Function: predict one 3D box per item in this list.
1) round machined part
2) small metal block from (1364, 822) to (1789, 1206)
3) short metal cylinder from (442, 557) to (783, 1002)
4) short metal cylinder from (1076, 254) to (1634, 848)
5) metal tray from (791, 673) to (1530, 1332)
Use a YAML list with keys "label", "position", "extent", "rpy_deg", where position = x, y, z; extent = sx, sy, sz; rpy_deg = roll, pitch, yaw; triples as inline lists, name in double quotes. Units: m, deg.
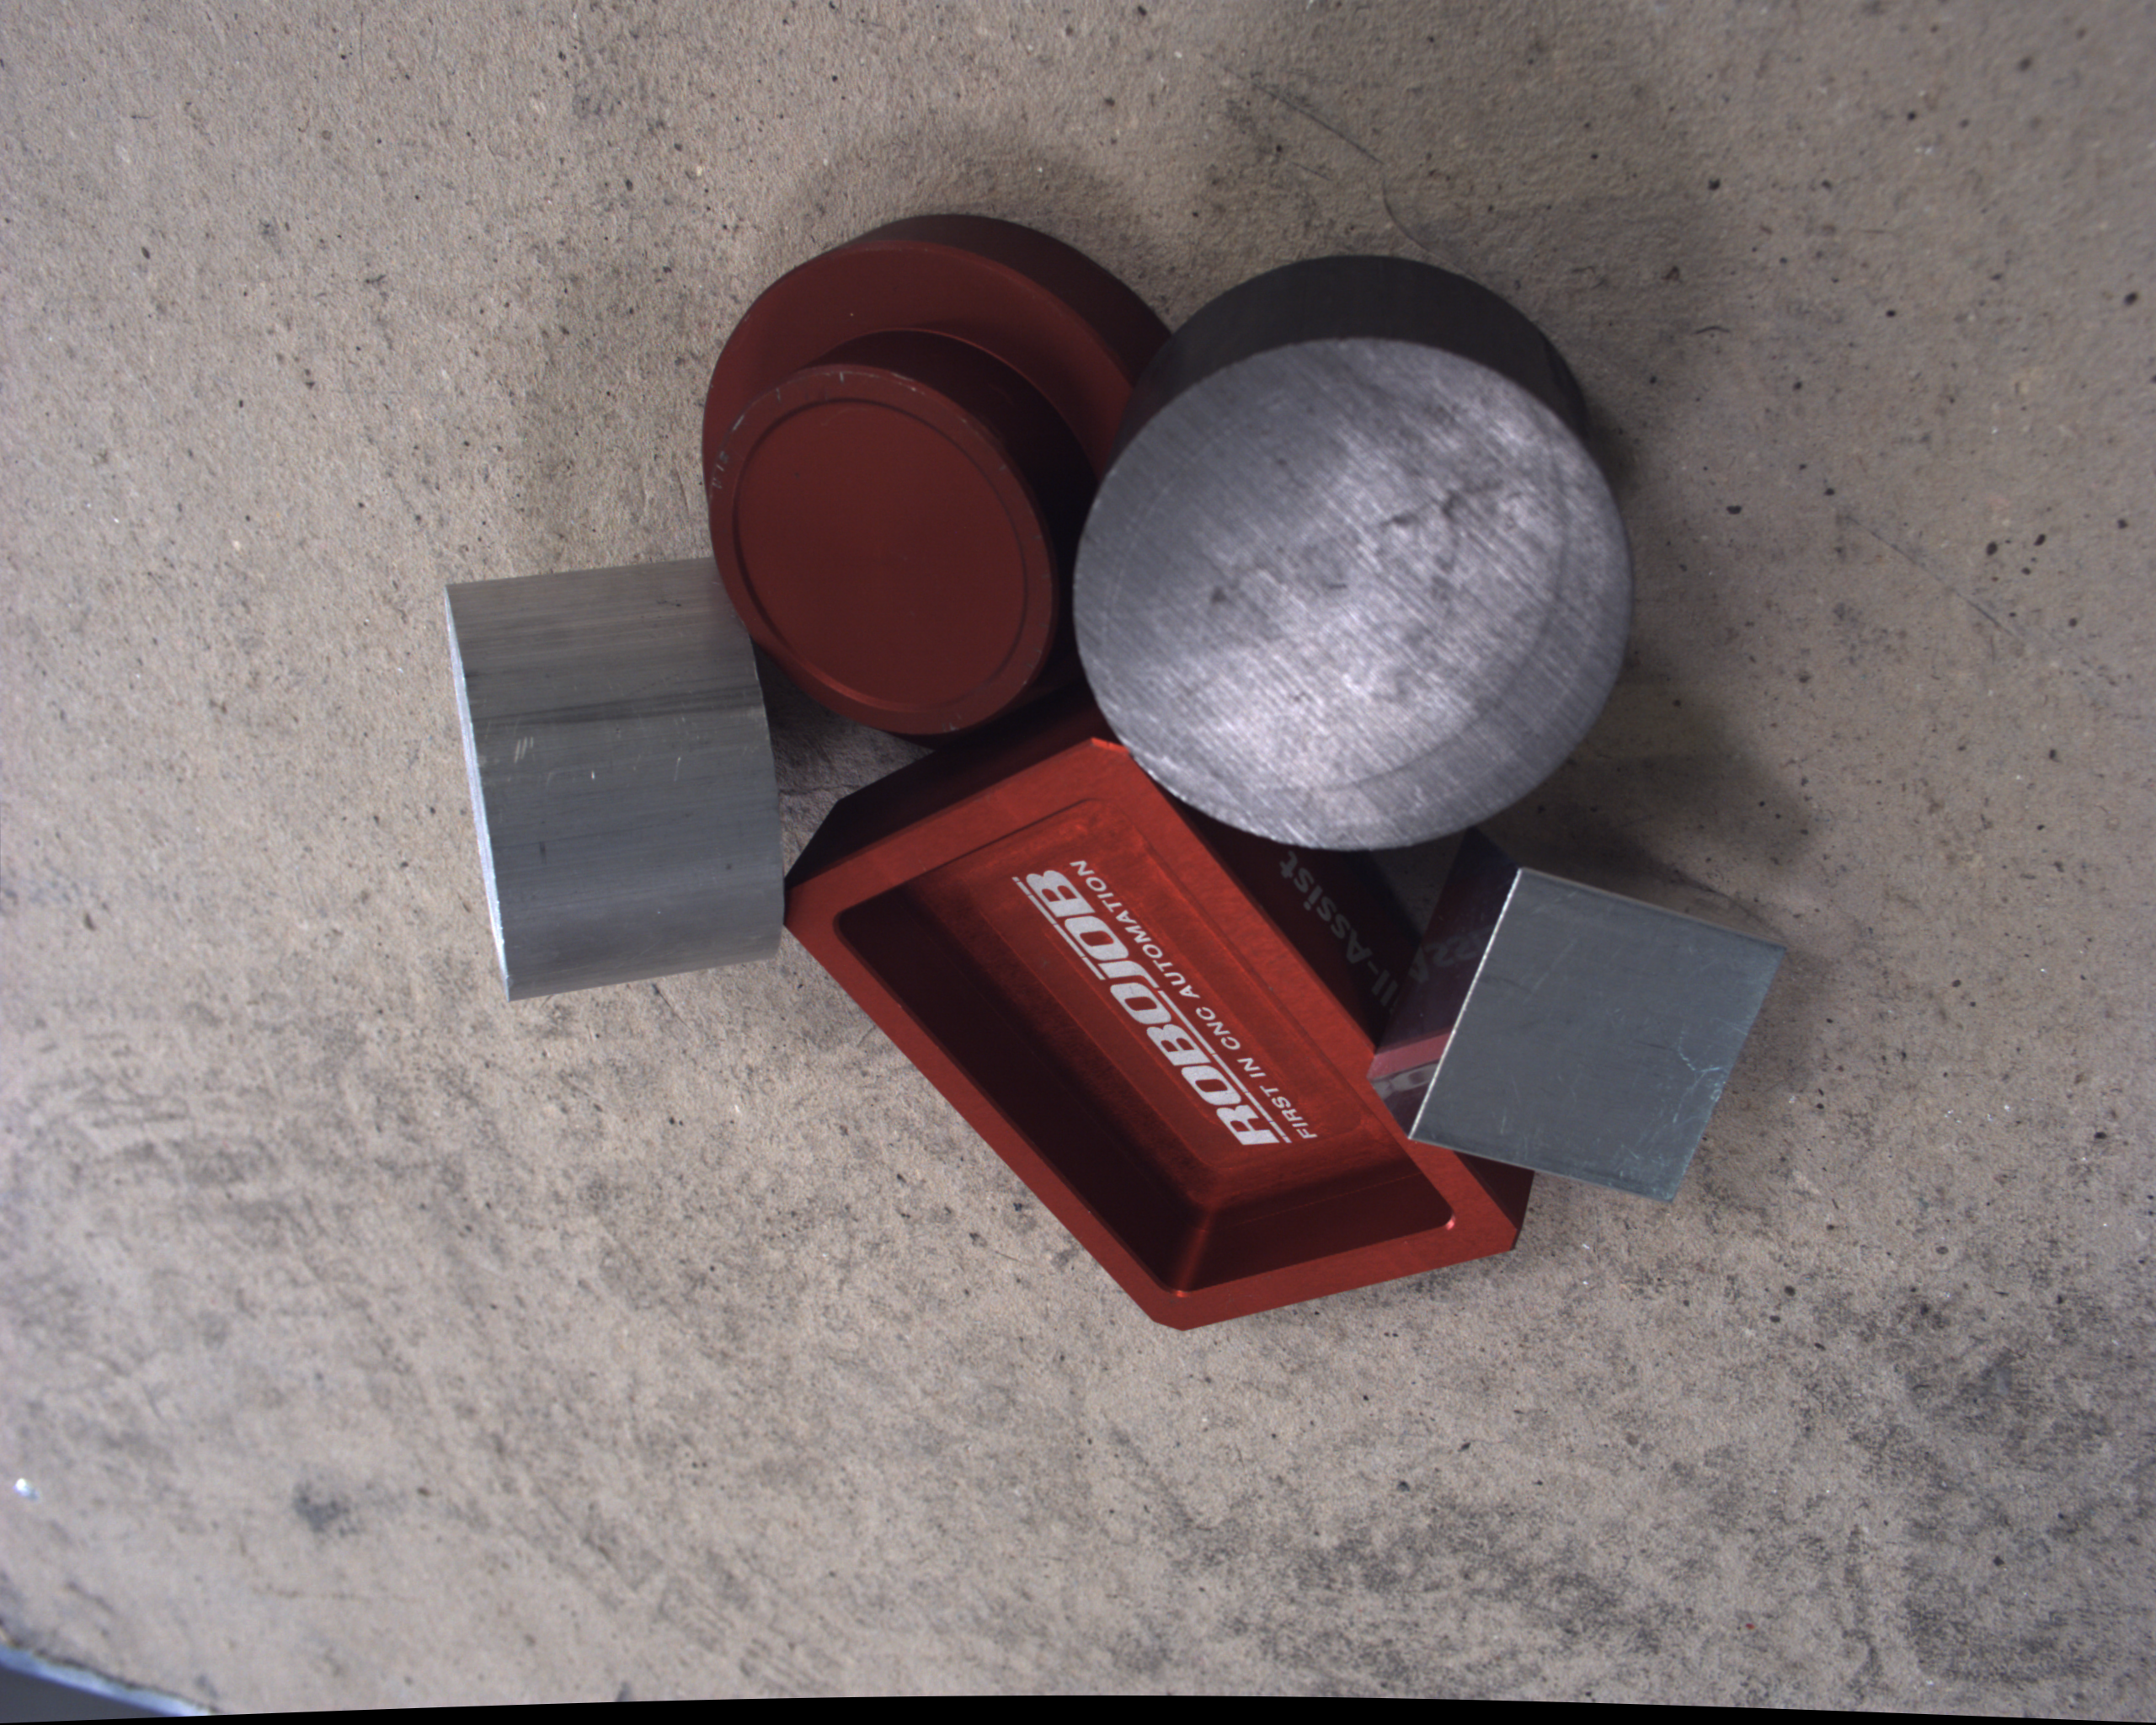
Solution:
- label: "round machined part"
  position: [-0.026, -0.062, 0.373]
  extent: [0.098, 0.042, 0.097]
  rpy_deg: [13, 124, 21]
- label: "small metal block"
  position: [0.084, 0.026, 0.357]
  extent: [0.050, 0.025, 0.050]
  rpy_deg: [16, 105, -14]
- label: "short metal cylinder"
  position: [-0.091, -0.016, 0.402]
  extent: [0.050, 0.080, 0.079]
  rpy_deg: [-9, 124, -17]
- label: "short metal cylinder"
  position: [0.043, -0.049, 0.326]
  extent: [0.080, 0.050, 0.079]
  rpy_deg: [3, 119, 6]
- label: "metal tray"
  position: [0.016, 0.030, 0.400]
  extent: [0.090, 0.030, 0.130]
  rpy_deg: [-24, 115, 36]
